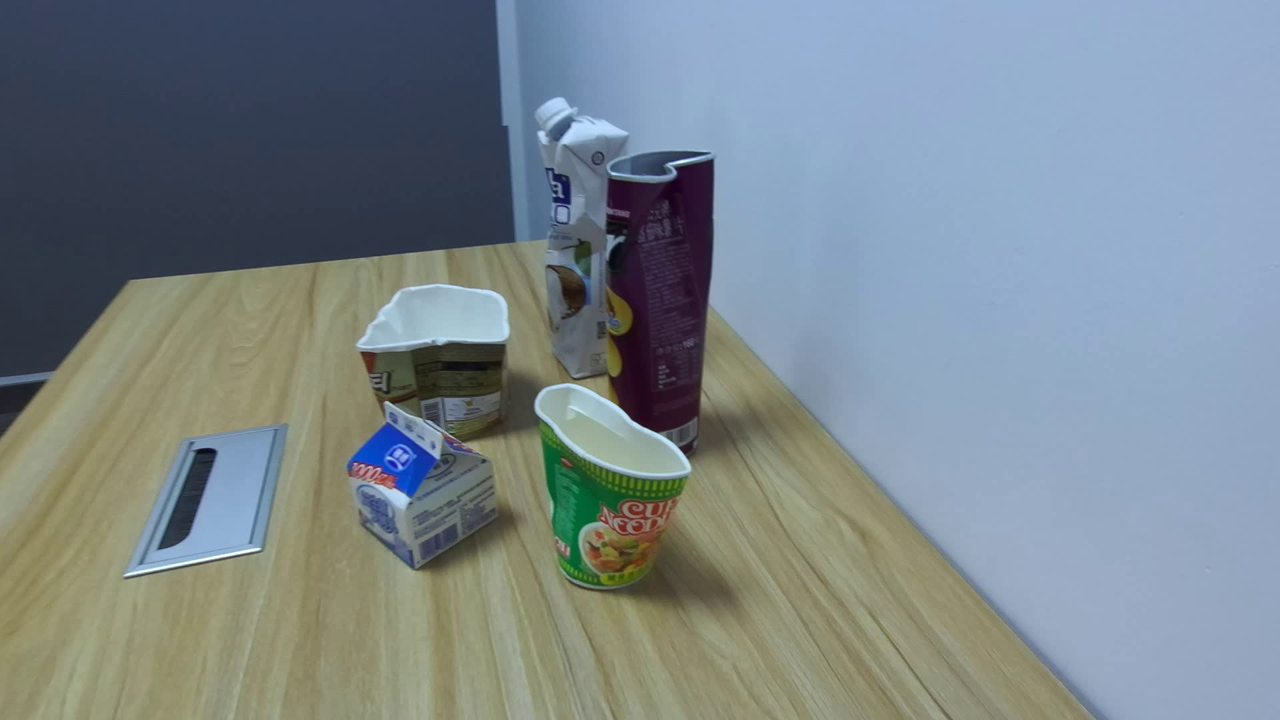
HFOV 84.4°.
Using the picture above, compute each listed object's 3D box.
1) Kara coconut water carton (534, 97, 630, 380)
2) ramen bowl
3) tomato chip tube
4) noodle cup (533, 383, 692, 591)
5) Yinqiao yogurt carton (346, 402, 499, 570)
[{"bbox_3d":[-0.050,-0.109,0.652,0.078,0.256,0.083,-6,30,-10],"label":"Kara coconut water carton"},{"bbox_3d":[-0.175,-0.003,0.623,0.114,0.097,0.133,-8,31,-12],"label":"ramen bowl"},{"bbox_3d":[0.014,-0.034,0.541,0.077,0.235,0.076,4,29,4],"label":"tomato chip tube"},{"bbox_3d":[-0.022,0.084,0.456,0.070,0.111,0.114,-10,31,-18],"label":"noodle cup"},{"bbox_3d":[-0.152,0.077,0.492,0.075,0.092,0.074,23,36,36],"label":"Yinqiao yogurt carton"}]
